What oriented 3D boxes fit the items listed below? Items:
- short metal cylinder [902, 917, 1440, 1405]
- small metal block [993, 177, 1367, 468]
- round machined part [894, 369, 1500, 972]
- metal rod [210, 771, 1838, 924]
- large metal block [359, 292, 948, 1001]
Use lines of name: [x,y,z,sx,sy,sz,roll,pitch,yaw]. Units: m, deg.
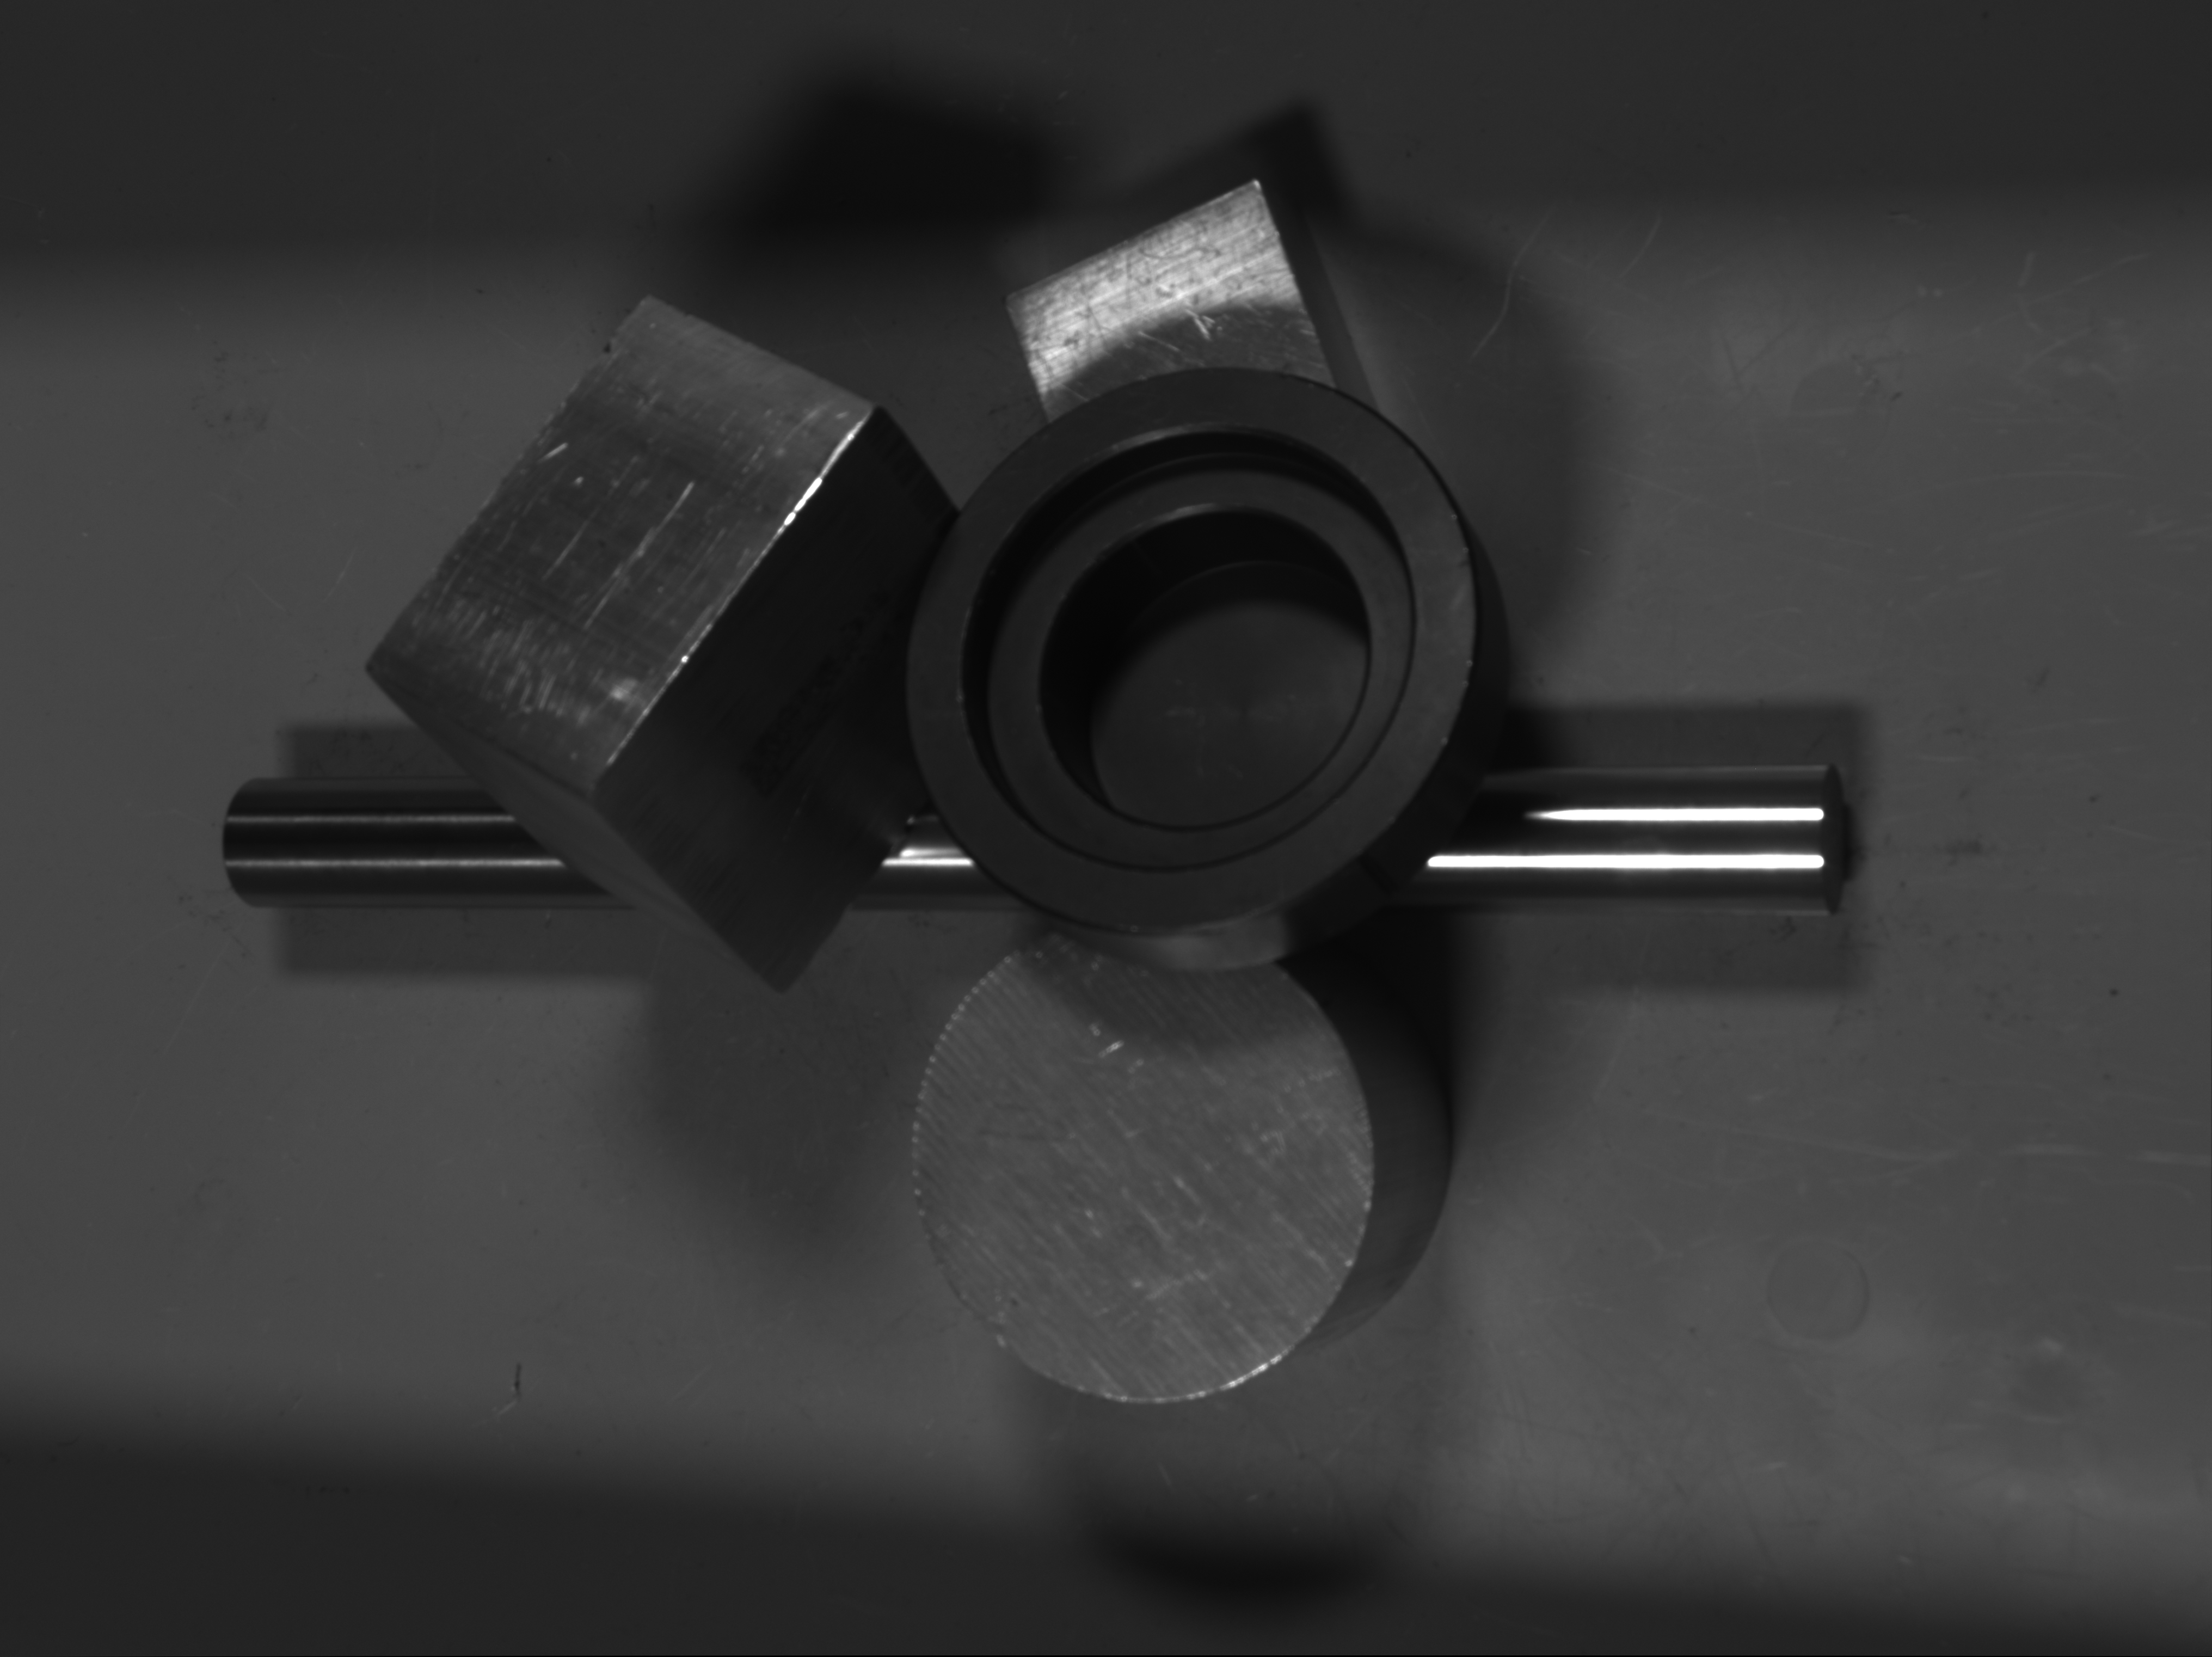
short metal cylinder: [0.012,0.055,0.625,0.080,0.050,0.080,0,90,20]
small metal block: [0.015,-0.078,0.639,0.050,0.025,0.050,-22,83,18]
round machined part: [0.018,-0.023,0.608,0.098,0.042,0.098,-6,70,18]
metal rod: [-0.023,0.003,0.650,0.299,0.025,0.025,0,90,20]
large metal block: [-0.067,-0.030,0.622,0.050,0.080,0.080,28,76,29]
